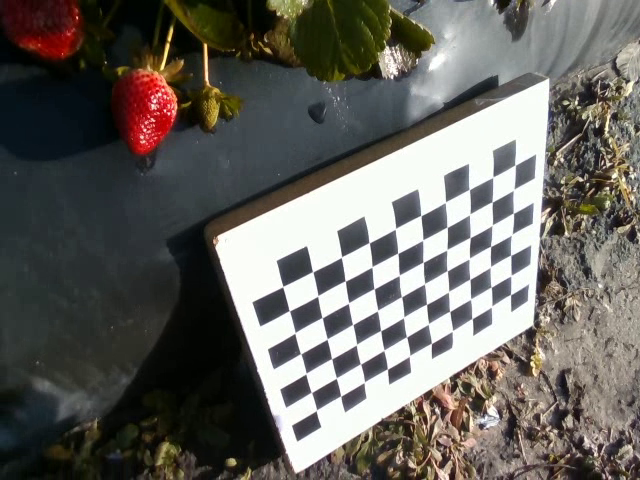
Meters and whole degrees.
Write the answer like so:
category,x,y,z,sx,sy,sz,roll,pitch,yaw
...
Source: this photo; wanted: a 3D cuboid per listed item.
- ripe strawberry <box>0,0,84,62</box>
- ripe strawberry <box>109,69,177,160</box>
category,x,y,z,sx,sy,sz,roll,pitch,yaw
ripe strawberry,-0.151,-0.119,0.330,0.039,0.048,0.054,21,30,30
ripe strawberry,-0.101,-0.072,0.344,0.043,0.053,0.038,20,-27,-39
